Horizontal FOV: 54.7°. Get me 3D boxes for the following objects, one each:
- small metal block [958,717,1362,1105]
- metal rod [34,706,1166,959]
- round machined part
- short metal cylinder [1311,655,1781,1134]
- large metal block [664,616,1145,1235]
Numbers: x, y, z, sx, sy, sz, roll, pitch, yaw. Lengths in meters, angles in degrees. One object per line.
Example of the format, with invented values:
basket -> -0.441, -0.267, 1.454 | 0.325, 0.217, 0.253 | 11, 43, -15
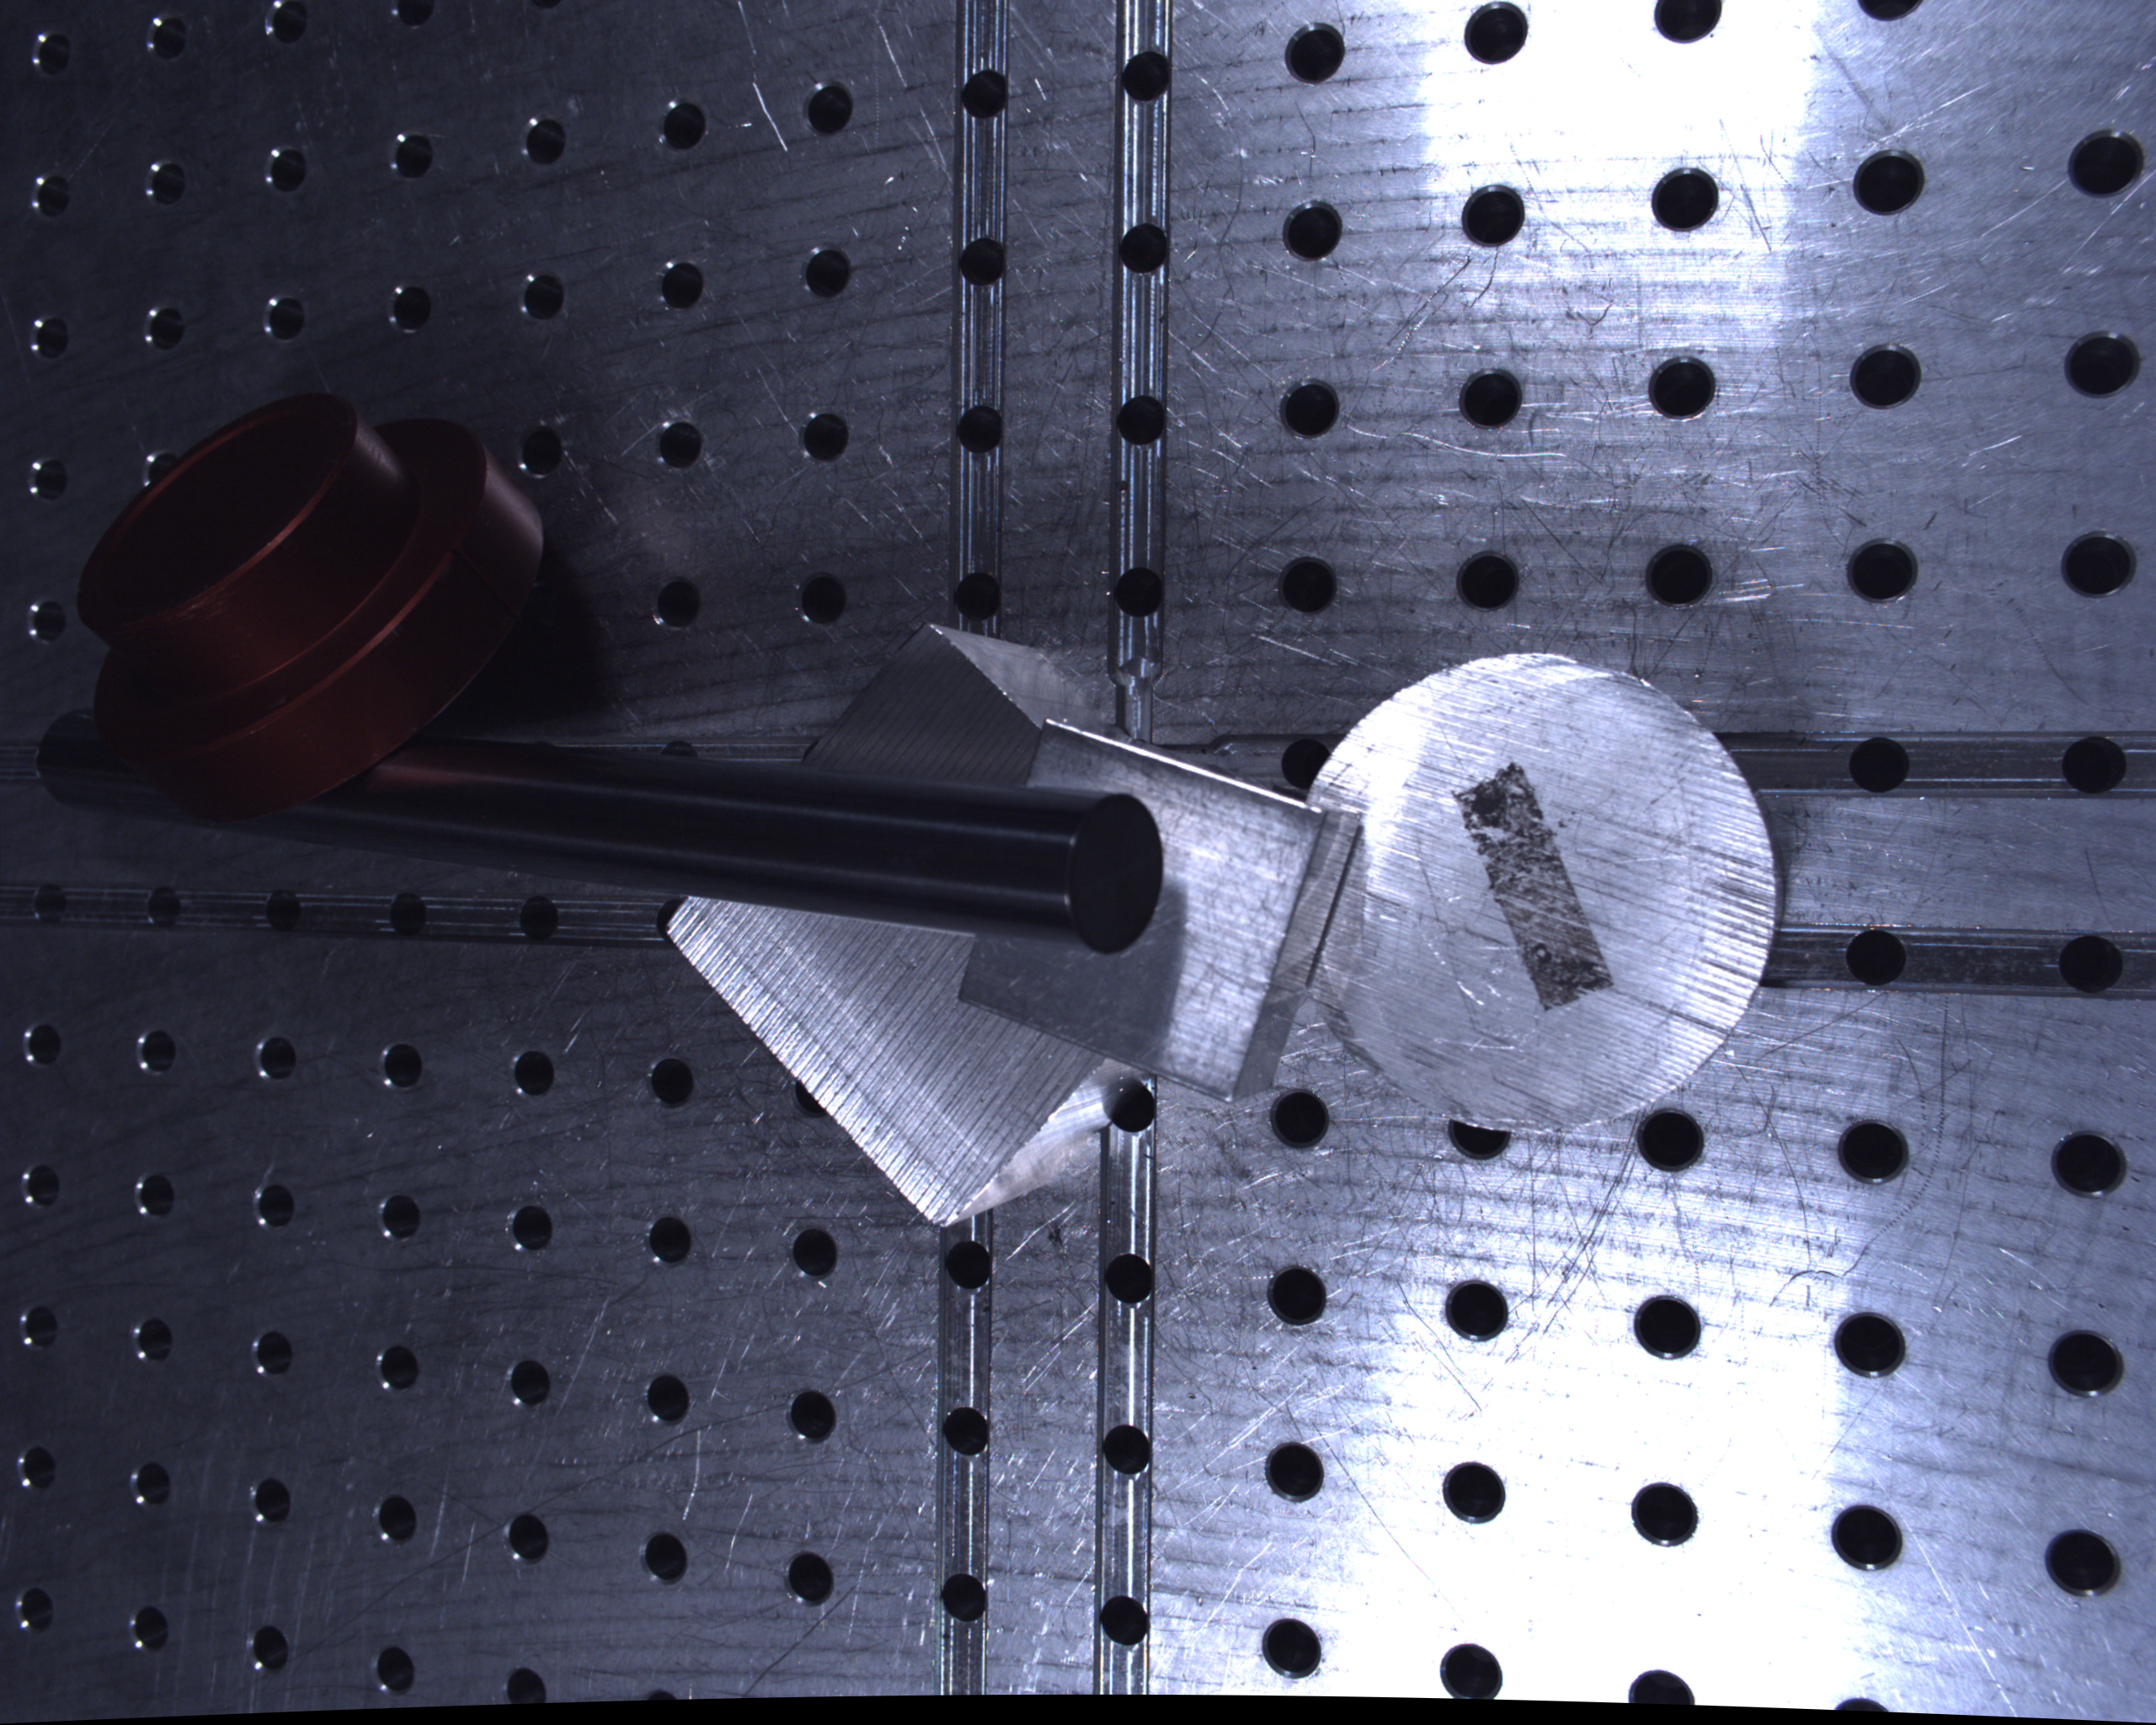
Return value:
small metal block -> 0.014, 0.007, 0.351 | 0.050, 0.025, 0.050 | 20, 96, 18
metal rod -> -0.114, -0.011, 0.405 | 0.300, 0.025, 0.025 | 6, 92, 36
round machined part -> -0.164, -0.059, 0.431 | 0.098, 0.042, 0.098 | -18, 44, 19
short metal cylinder -> 0.083, 0.005, 0.370 | 0.080, 0.050, 0.079 | 0, 90, 19
large metal block -> -0.017, 0.011, 0.402 | 0.080, 0.050, 0.080 | 45, 104, 14
